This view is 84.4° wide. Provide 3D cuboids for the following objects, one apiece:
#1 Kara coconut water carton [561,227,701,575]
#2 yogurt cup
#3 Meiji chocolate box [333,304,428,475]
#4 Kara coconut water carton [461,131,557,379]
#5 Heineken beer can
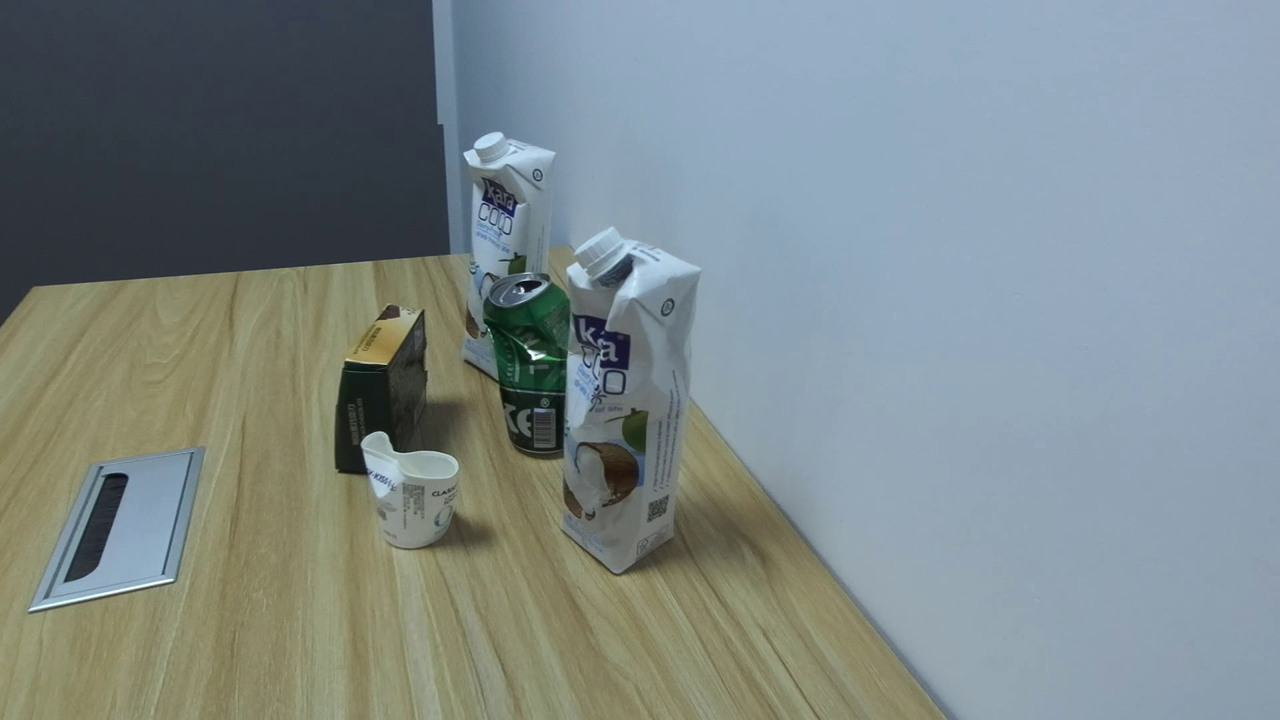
[{"bbox_3d":[-0.013,0.026,0.489,0.079,0.255,0.083,-17,37,-29],"label":"Kara coconut water carton"},{"bbox_3d":[-0.171,0.097,0.533,0.075,0.071,0.053,4,30,-2],"label":"yogurt cup"},{"bbox_3d":[-0.227,0.023,0.619,0.058,0.110,0.113,7,30,-7],"label":"Meiji chocolate box"},{"bbox_3d":[-0.131,-0.104,0.710,0.099,0.244,0.071,25,34,35],"label":"Kara coconut water carton"},{"bbox_3d":[-0.087,0.005,0.622,0.079,0.159,0.067,-13,28,-15],"label":"Heineken beer can"}]
